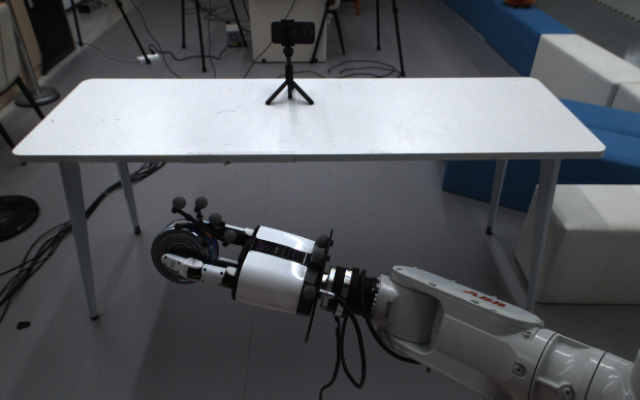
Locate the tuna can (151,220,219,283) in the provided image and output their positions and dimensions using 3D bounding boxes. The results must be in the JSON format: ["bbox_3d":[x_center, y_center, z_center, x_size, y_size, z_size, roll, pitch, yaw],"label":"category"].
[{"bbox_3d":[-0.183,0.072,0.660,0.085,0.085,0.034,6,19,6],"label":"tuna can"}]
